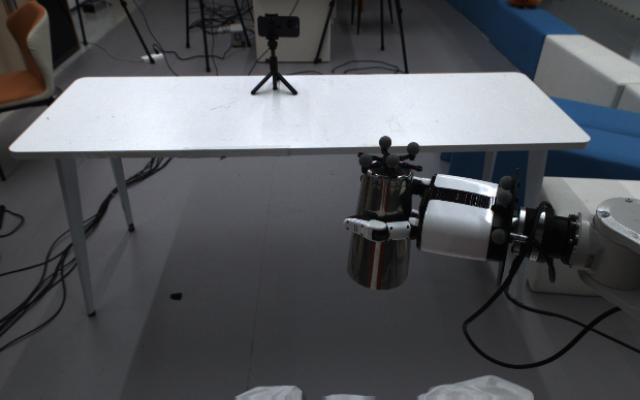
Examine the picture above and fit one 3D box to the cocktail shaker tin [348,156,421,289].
[{"bbox_3d":[0.091,0.029,0.682,0.093,0.170,0.093,1,30,-1],"label":"cocktail shaker tin"}]
